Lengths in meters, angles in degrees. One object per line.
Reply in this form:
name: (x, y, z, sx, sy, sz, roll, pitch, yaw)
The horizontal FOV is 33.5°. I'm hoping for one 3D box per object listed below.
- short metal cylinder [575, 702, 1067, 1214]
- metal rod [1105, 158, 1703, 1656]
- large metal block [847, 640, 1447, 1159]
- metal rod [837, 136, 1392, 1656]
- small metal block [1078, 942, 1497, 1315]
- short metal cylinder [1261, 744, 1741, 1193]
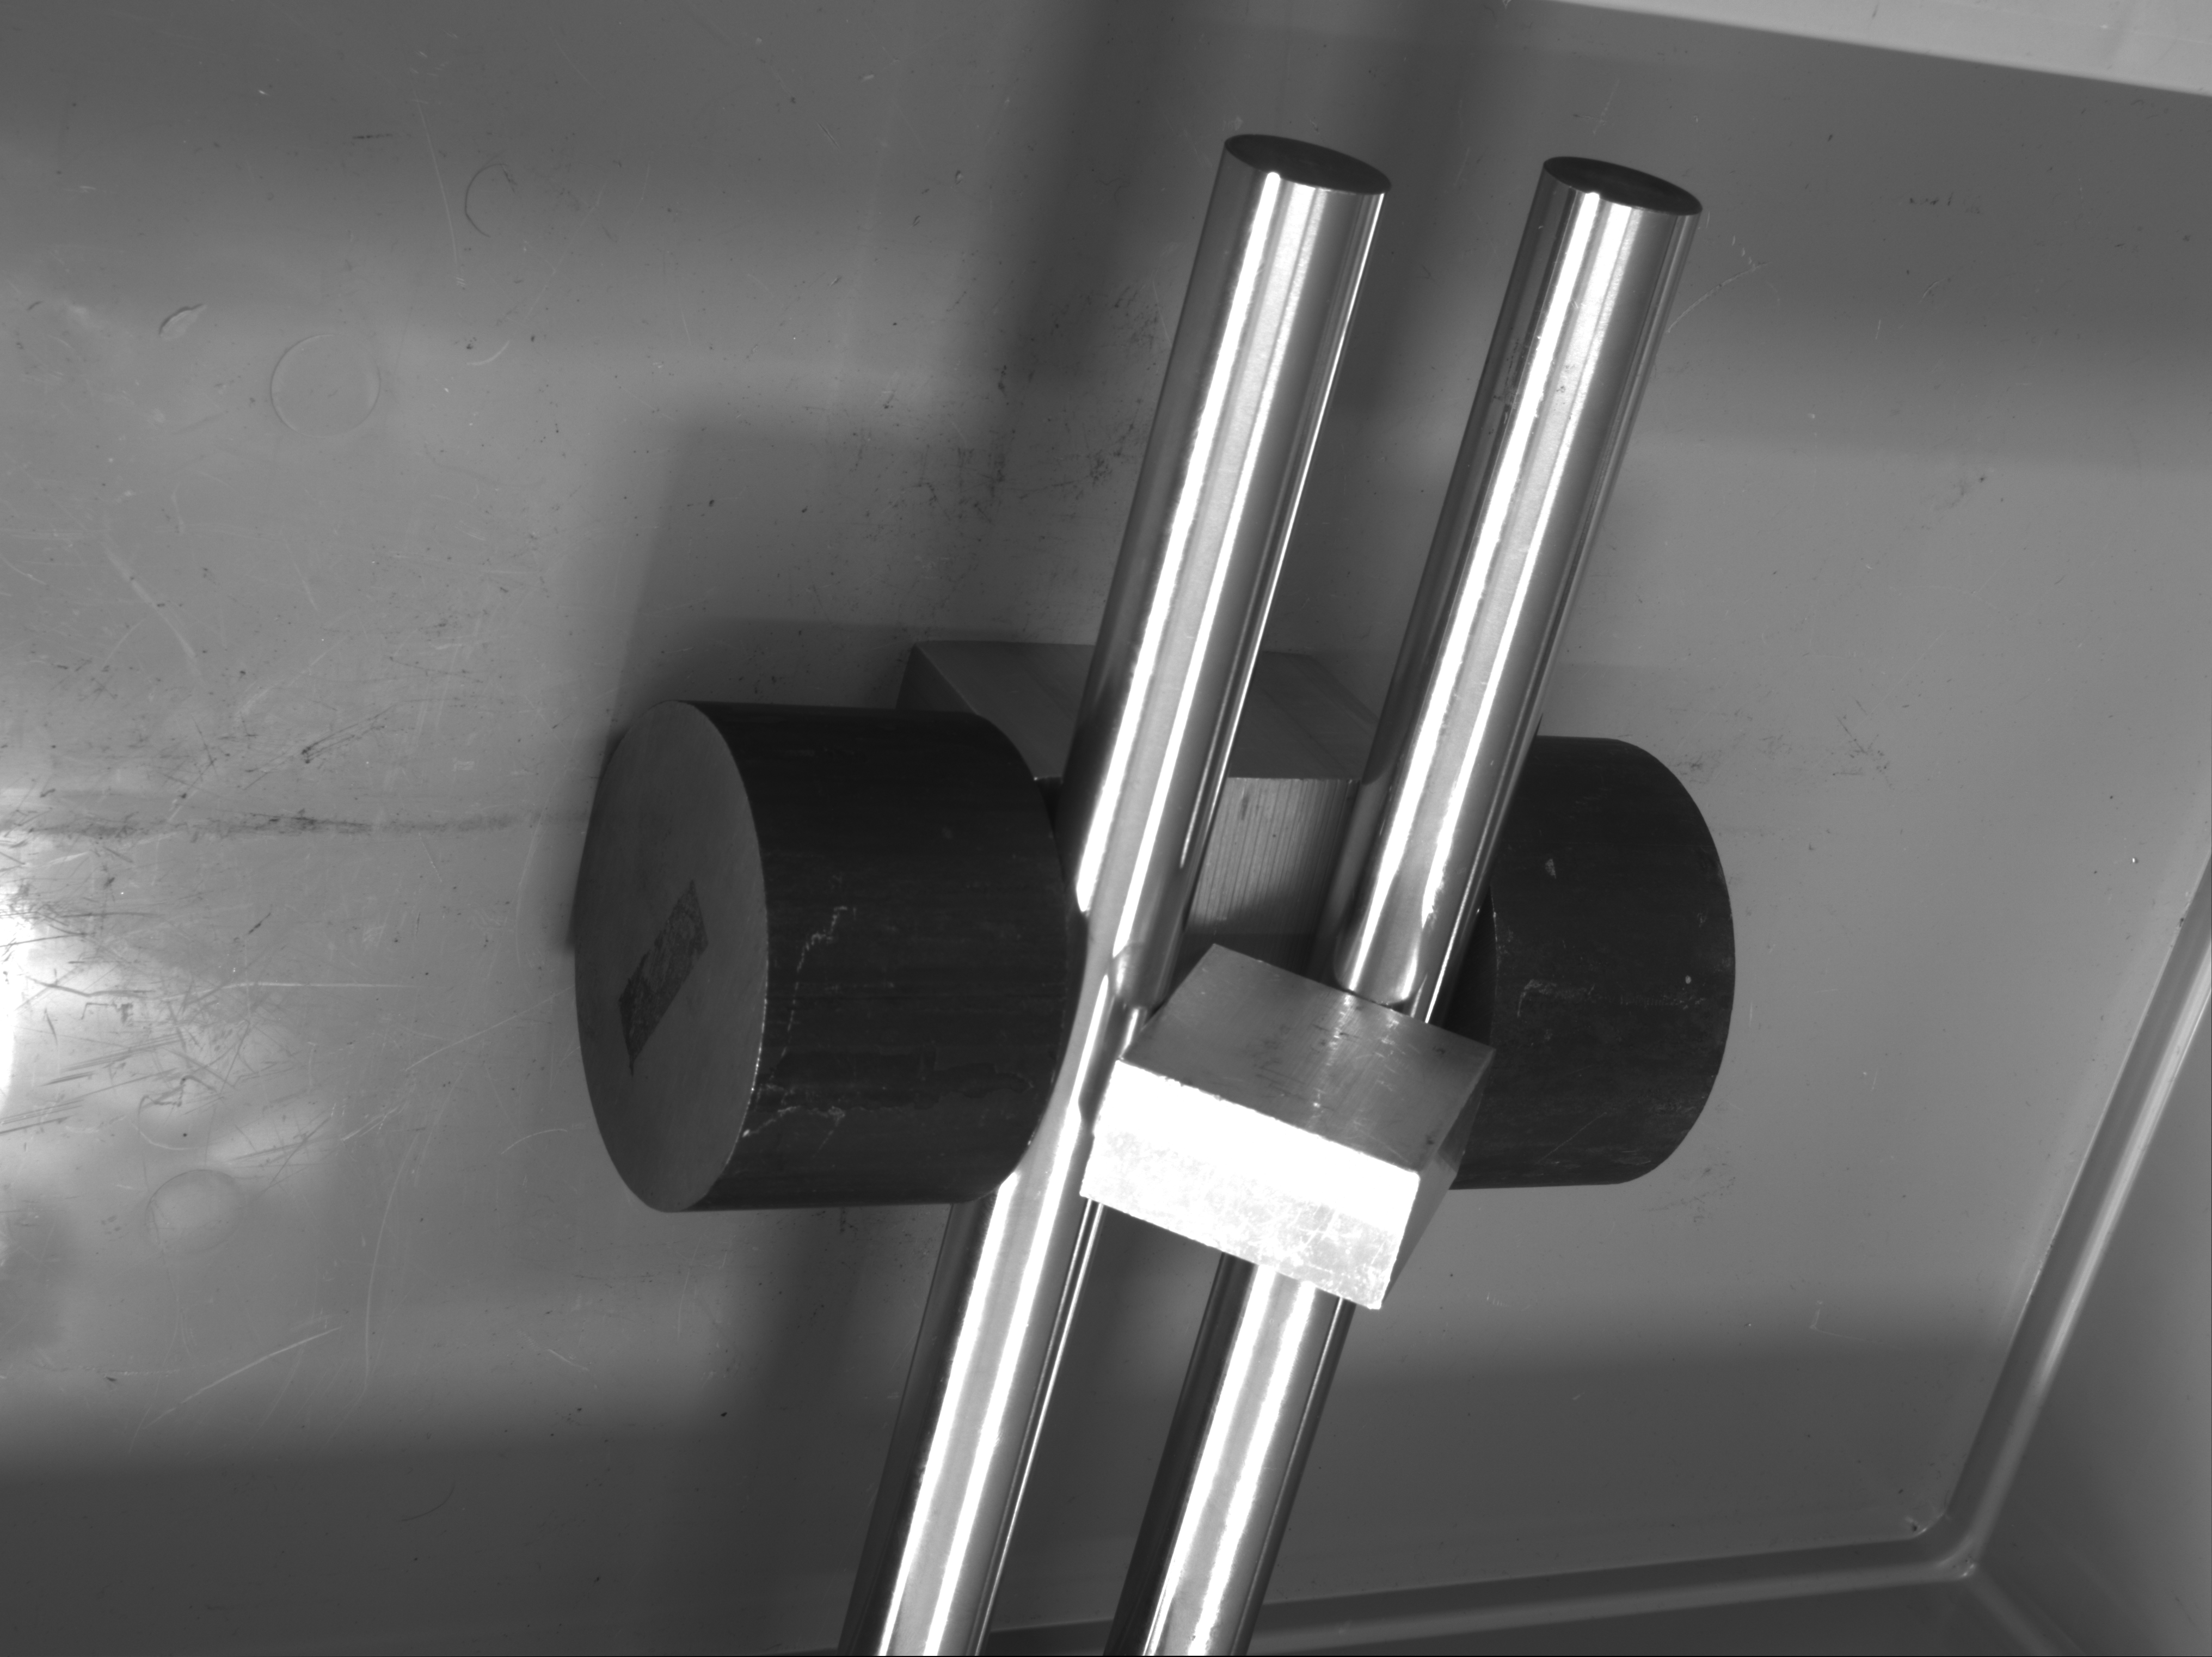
short metal cylinder: (-0.047, 0.021, 0.588, 0.050, 0.080, 0.080, 1, 118, -29)
metal rod: (0.043, 0.035, 0.617, 0.025, 0.025, 0.300, 1, 118, -28)
large metal block: (0.004, 0.016, 0.632, 0.080, 0.050, 0.080, 1, 118, -29)
metal rod: (-0.006, 0.037, 0.592, 0.025, 0.025, 0.300, 1, 118, -28)
small metal block: (0.029, 0.047, 0.584, 0.050, 0.050, 0.025, 20, 115, 12)
short metal cylinder: (0.068, 0.025, 0.652, 0.050, 0.080, 0.080, 1, 118, -28)
